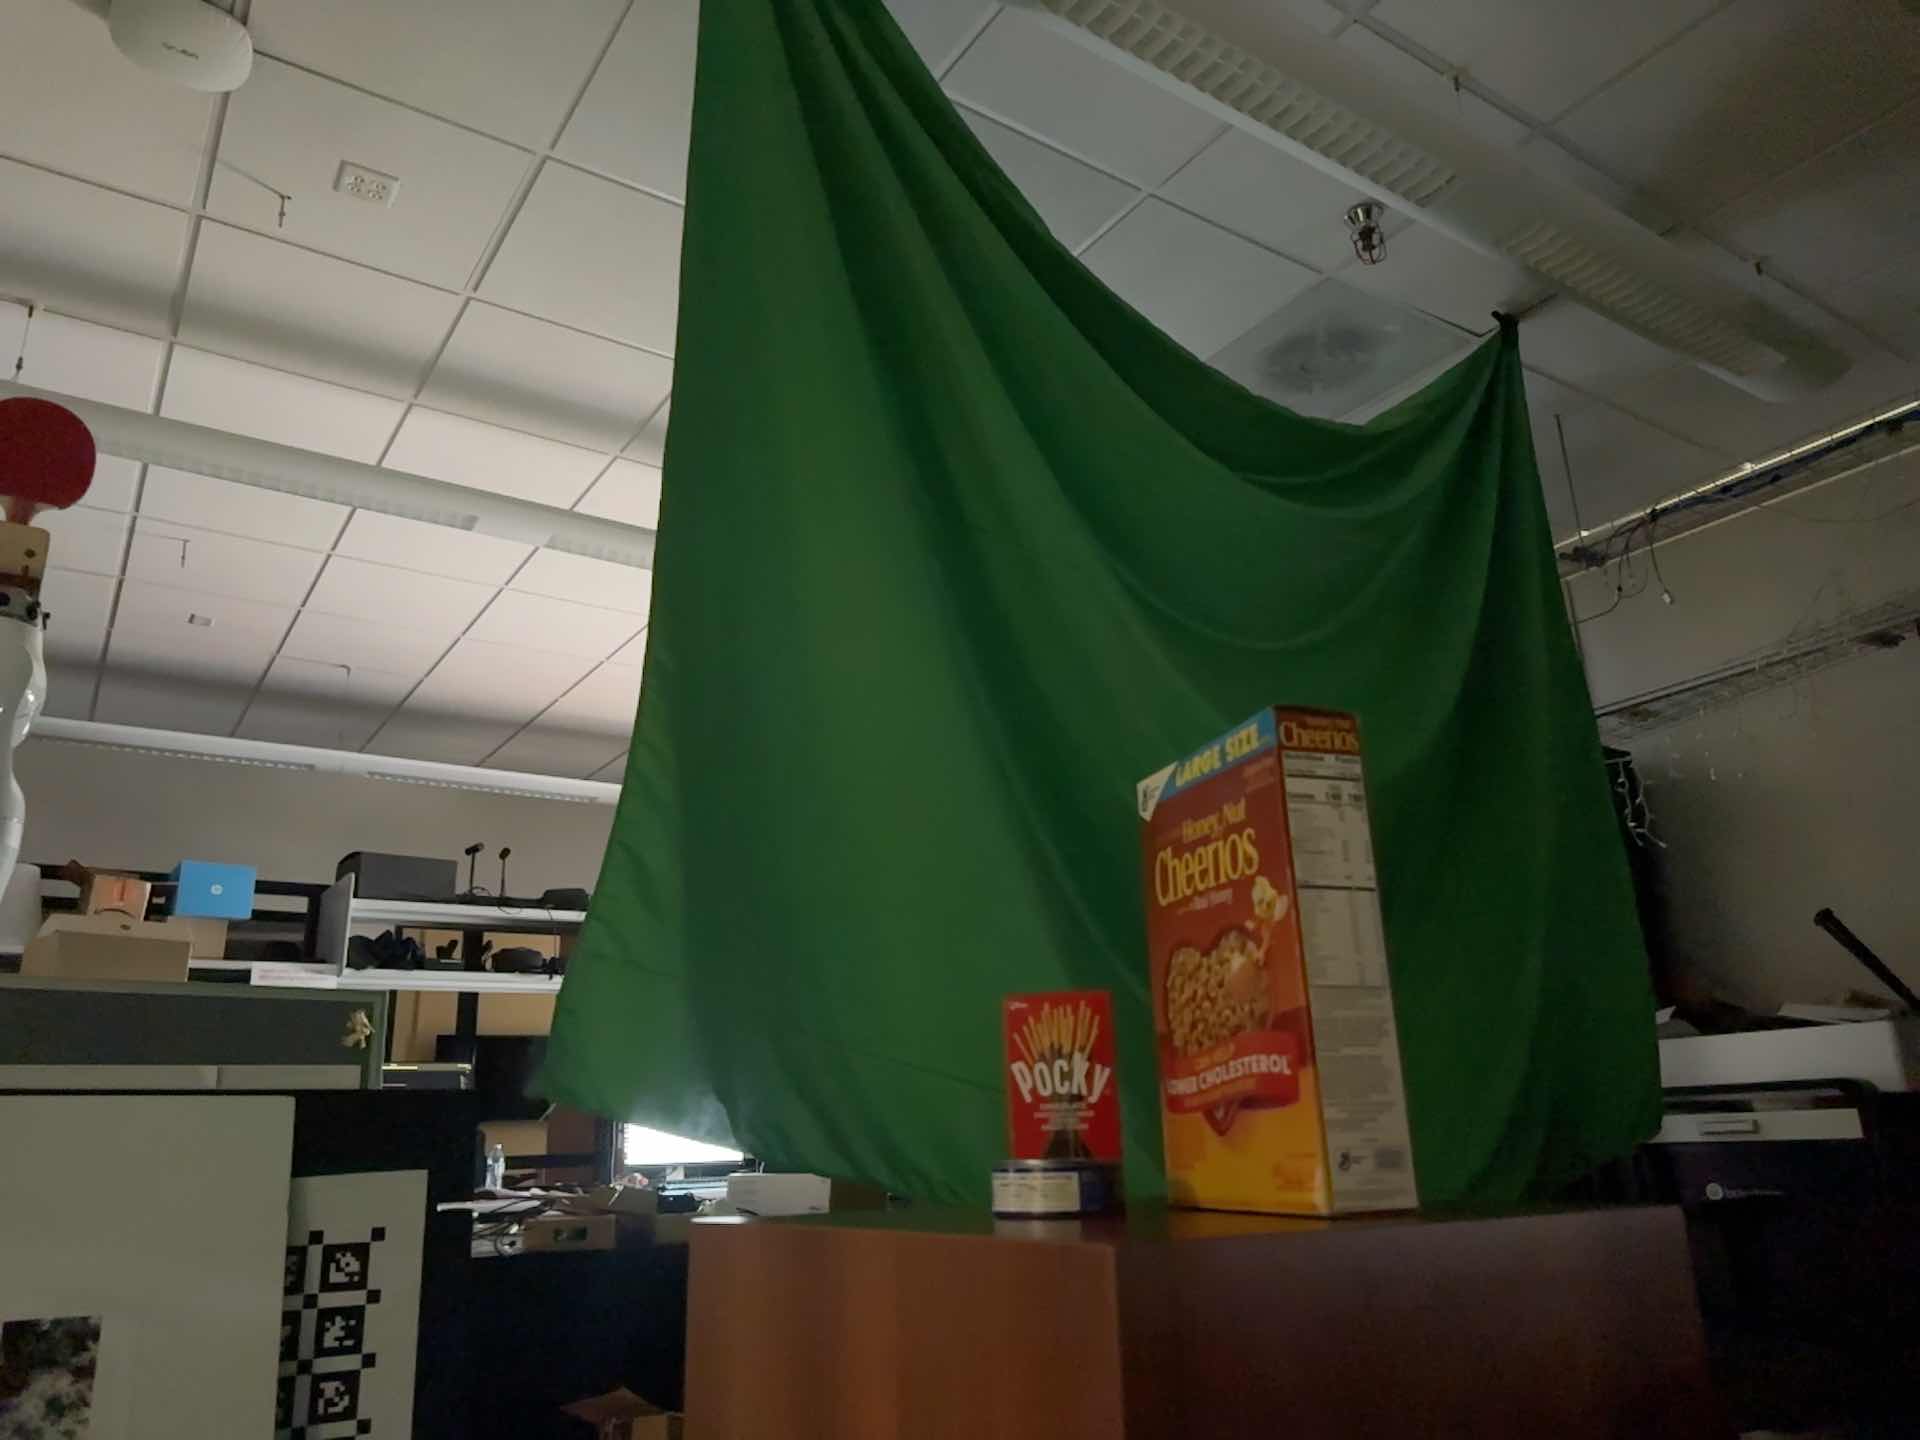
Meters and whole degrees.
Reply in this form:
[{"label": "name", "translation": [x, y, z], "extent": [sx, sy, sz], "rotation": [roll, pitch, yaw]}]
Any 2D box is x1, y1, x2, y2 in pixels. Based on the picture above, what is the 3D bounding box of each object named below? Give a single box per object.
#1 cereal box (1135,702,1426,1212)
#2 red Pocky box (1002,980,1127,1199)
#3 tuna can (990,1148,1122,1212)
[{"label": "cereal box", "translation": [0.200, 0.162, 0.900], "extent": [0.065, 0.297, 0.195], "rotation": [4, -17, -20]}, {"label": "red Pocky box", "translation": [0.075, 0.271, 0.987], "extent": [0.083, 0.155, 0.028], "rotation": [-5, -15, 9]}, {"label": "tuna can", "translation": [0.062, 0.297, 0.870], "extent": [0.083, 0.034, 0.083], "rotation": [-3, -16, -1]}]
